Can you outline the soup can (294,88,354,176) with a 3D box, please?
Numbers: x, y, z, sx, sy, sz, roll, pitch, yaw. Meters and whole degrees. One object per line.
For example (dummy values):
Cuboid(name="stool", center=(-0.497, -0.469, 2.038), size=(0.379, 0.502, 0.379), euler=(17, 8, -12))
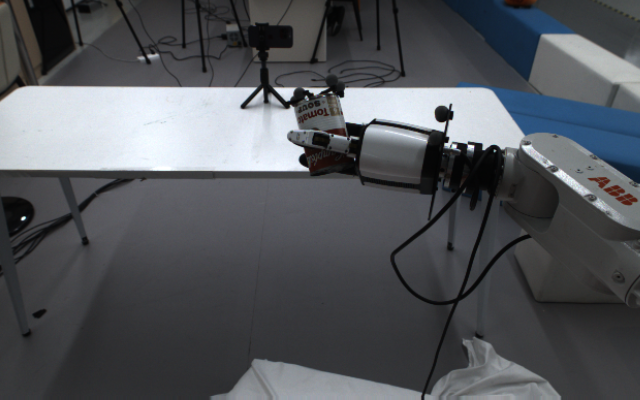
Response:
Cuboid(name="soup can", center=(0.006, -0.090, 0.688), size=(0.067, 0.101, 0.067), euler=(-14, -2, -1))
